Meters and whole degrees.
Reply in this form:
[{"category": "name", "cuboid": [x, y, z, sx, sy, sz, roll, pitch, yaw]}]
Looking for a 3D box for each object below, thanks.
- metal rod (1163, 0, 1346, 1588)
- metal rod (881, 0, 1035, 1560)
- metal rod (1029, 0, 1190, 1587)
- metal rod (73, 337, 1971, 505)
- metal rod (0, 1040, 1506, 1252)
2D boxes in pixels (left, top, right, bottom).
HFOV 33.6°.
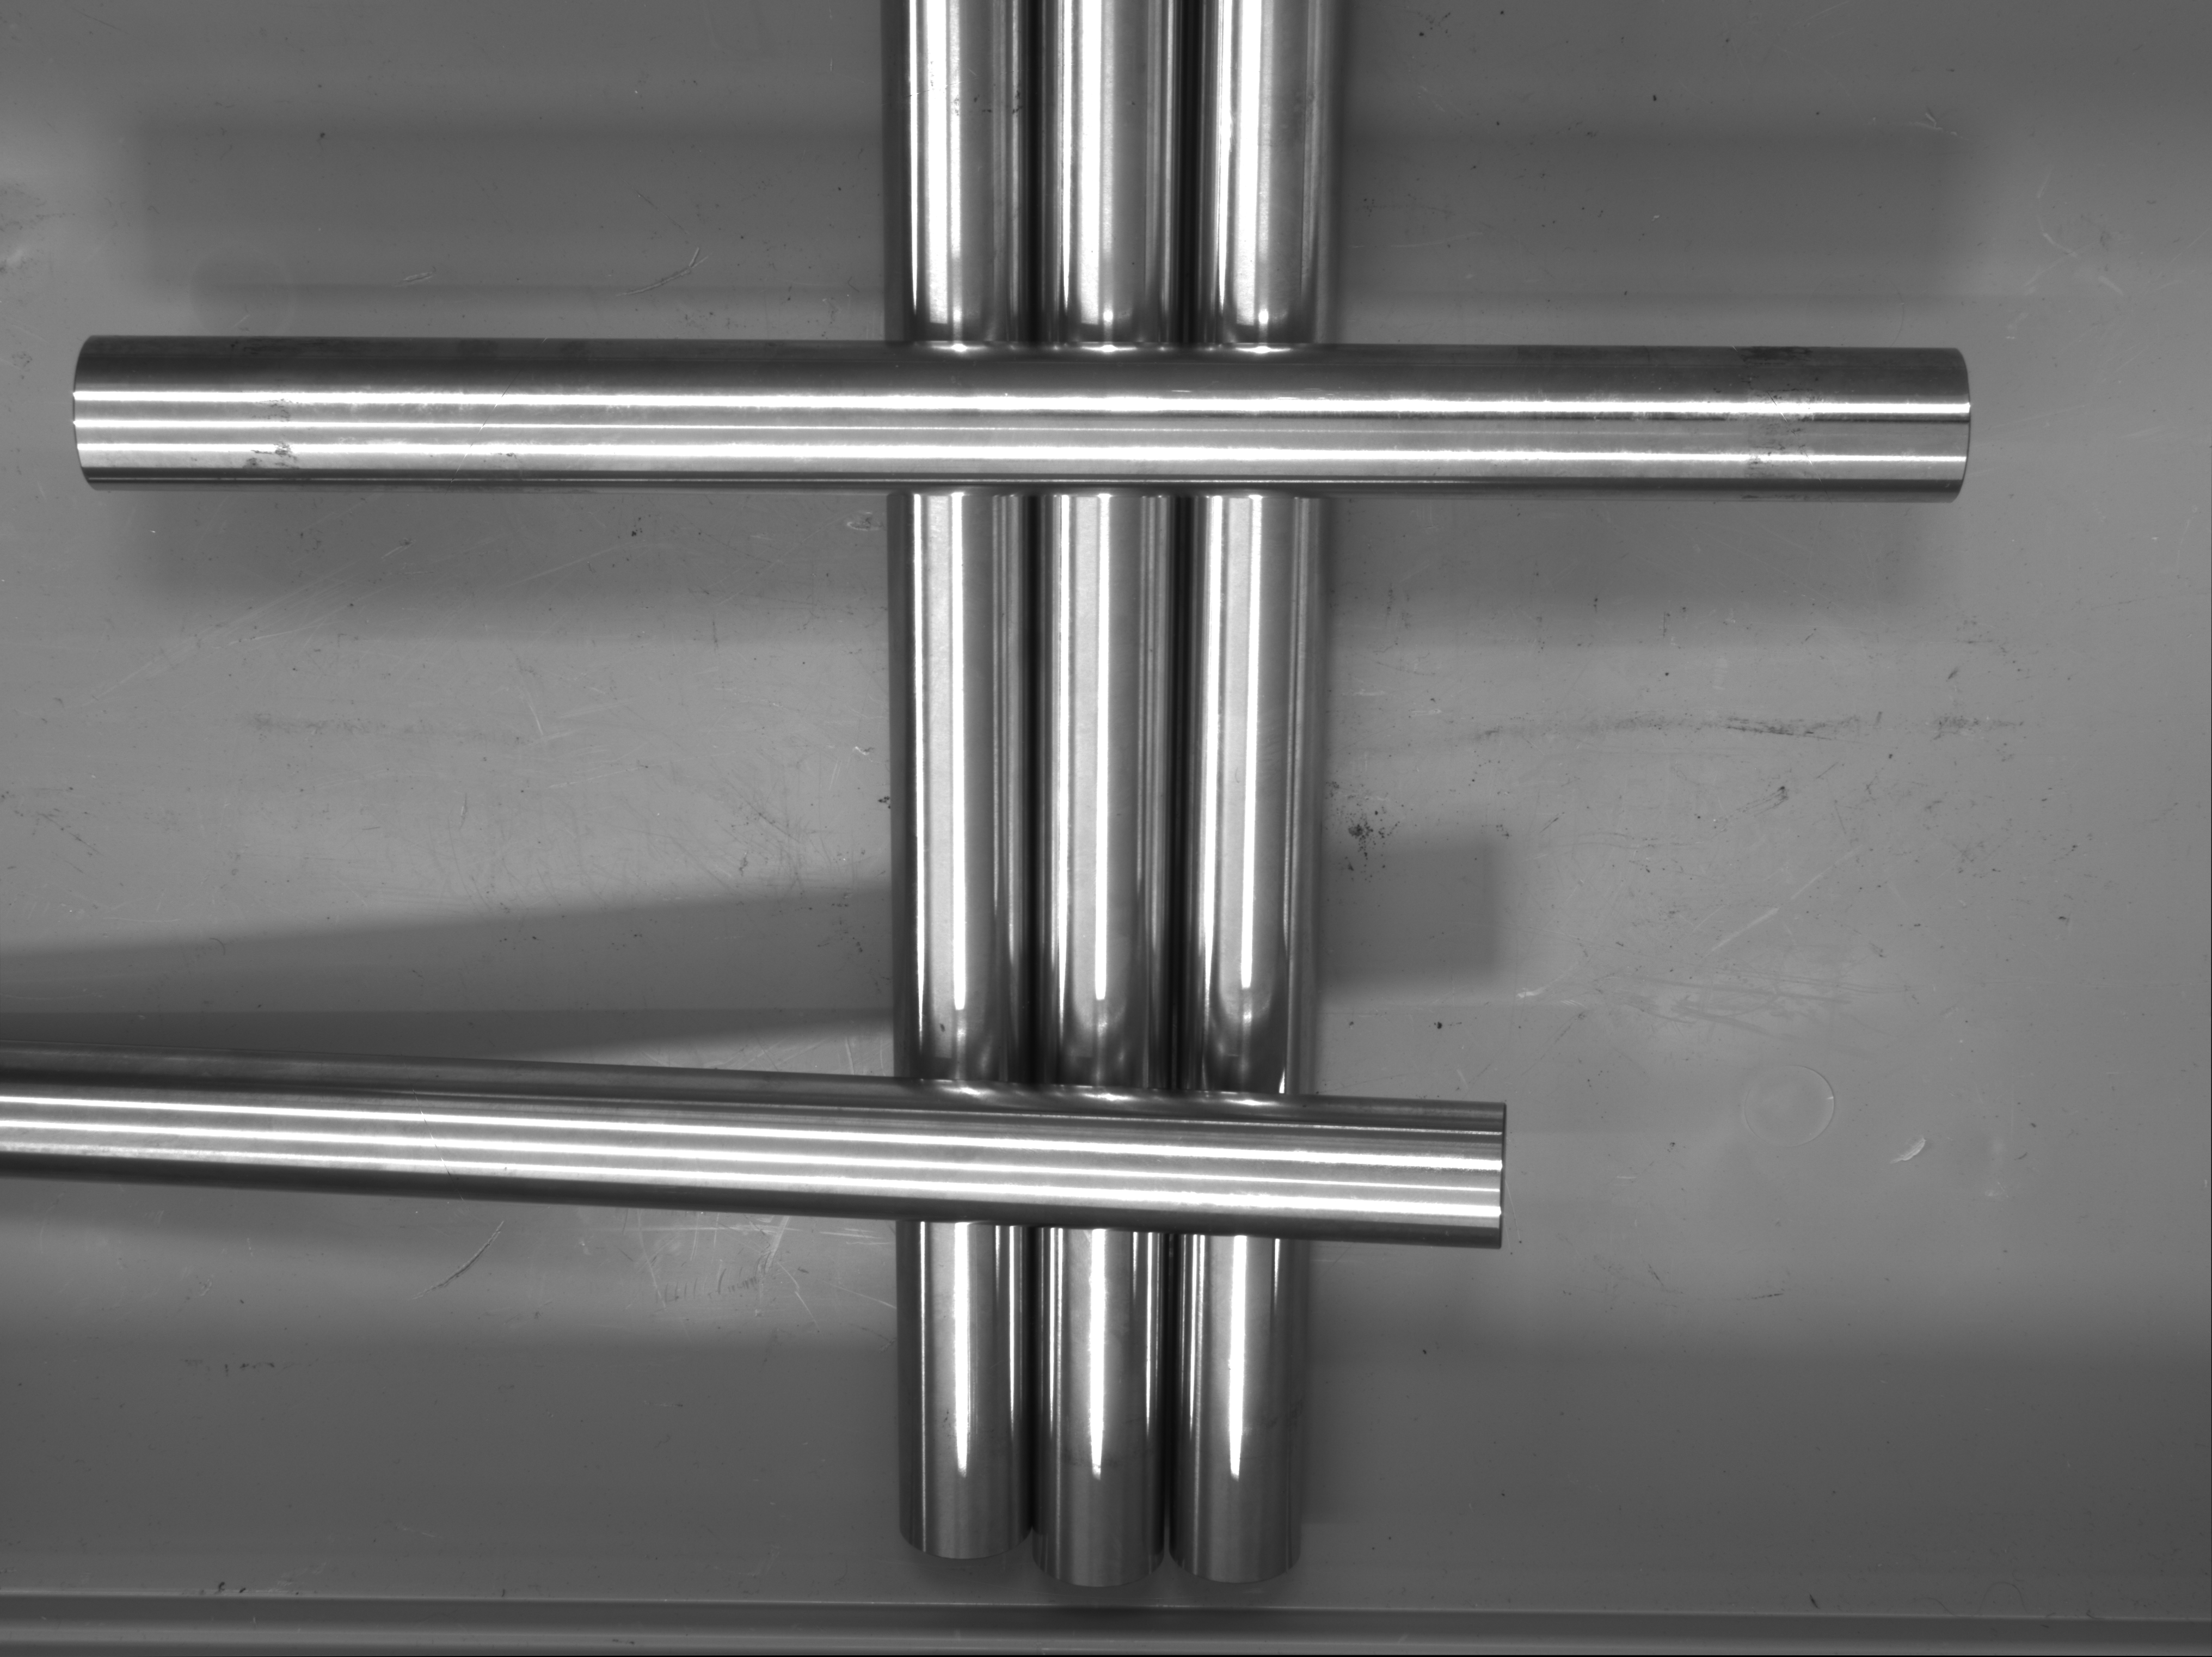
[{"category": "metal rod", "cuboid": [0.025, -0.004, 0.640, 0.025, 0.025, 0.300, 1, 110, 0]}, {"category": "metal rod", "cuboid": [-0.025, -0.010, 0.640, 0.025, 0.025, 0.300, 0, 110, 0]}, {"category": "metal rod", "cuboid": [0.000, -0.004, 0.642, 0.025, 0.025, 0.300, 1, 110, 0]}, {"category": "metal rod", "cuboid": [-0.013, -0.066, 0.592, 0.300, 0.025, 0.025, 0, 110, 0]}, {"category": "metal rod", "cuboid": [-0.081, 0.055, 0.643, 0.300, 0.025, 0.025, 2, 110, 7]}]
